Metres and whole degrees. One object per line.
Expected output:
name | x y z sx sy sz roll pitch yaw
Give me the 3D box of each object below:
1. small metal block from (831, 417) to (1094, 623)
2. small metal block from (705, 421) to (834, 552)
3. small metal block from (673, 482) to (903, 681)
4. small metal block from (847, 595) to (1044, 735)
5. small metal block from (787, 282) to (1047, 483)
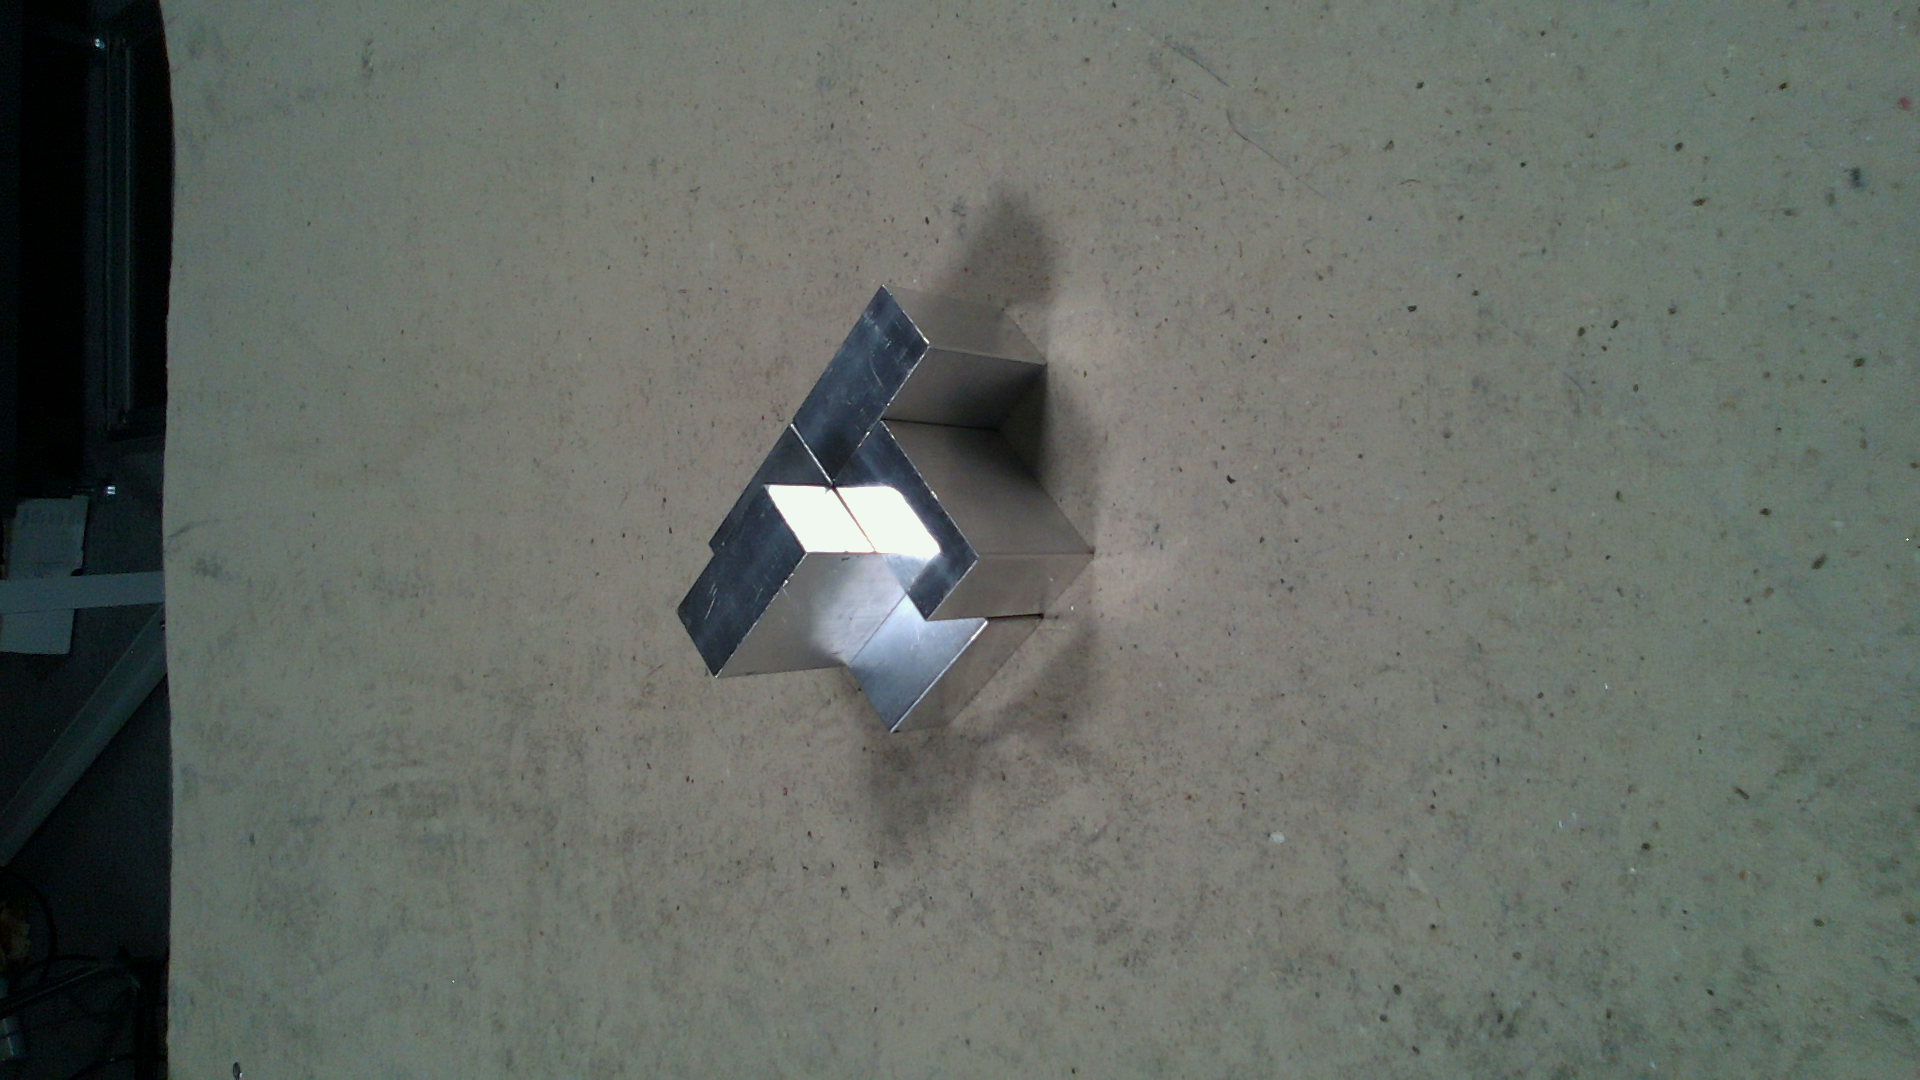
small metal block | 0.001 -0.006 0.377 0.025 0.050 0.050 -51 60 28
small metal block | -0.039 -0.007 0.411 0.050 0.050 0.025 -52 60 28
small metal block | -0.043 0.011 0.382 0.050 0.050 0.025 -52 60 28
small metal block | -0.011 0.021 0.405 0.050 0.025 0.050 -50 60 28
small metal block | -0.012 -0.042 0.388 0.050 0.050 0.025 -52 60 28
